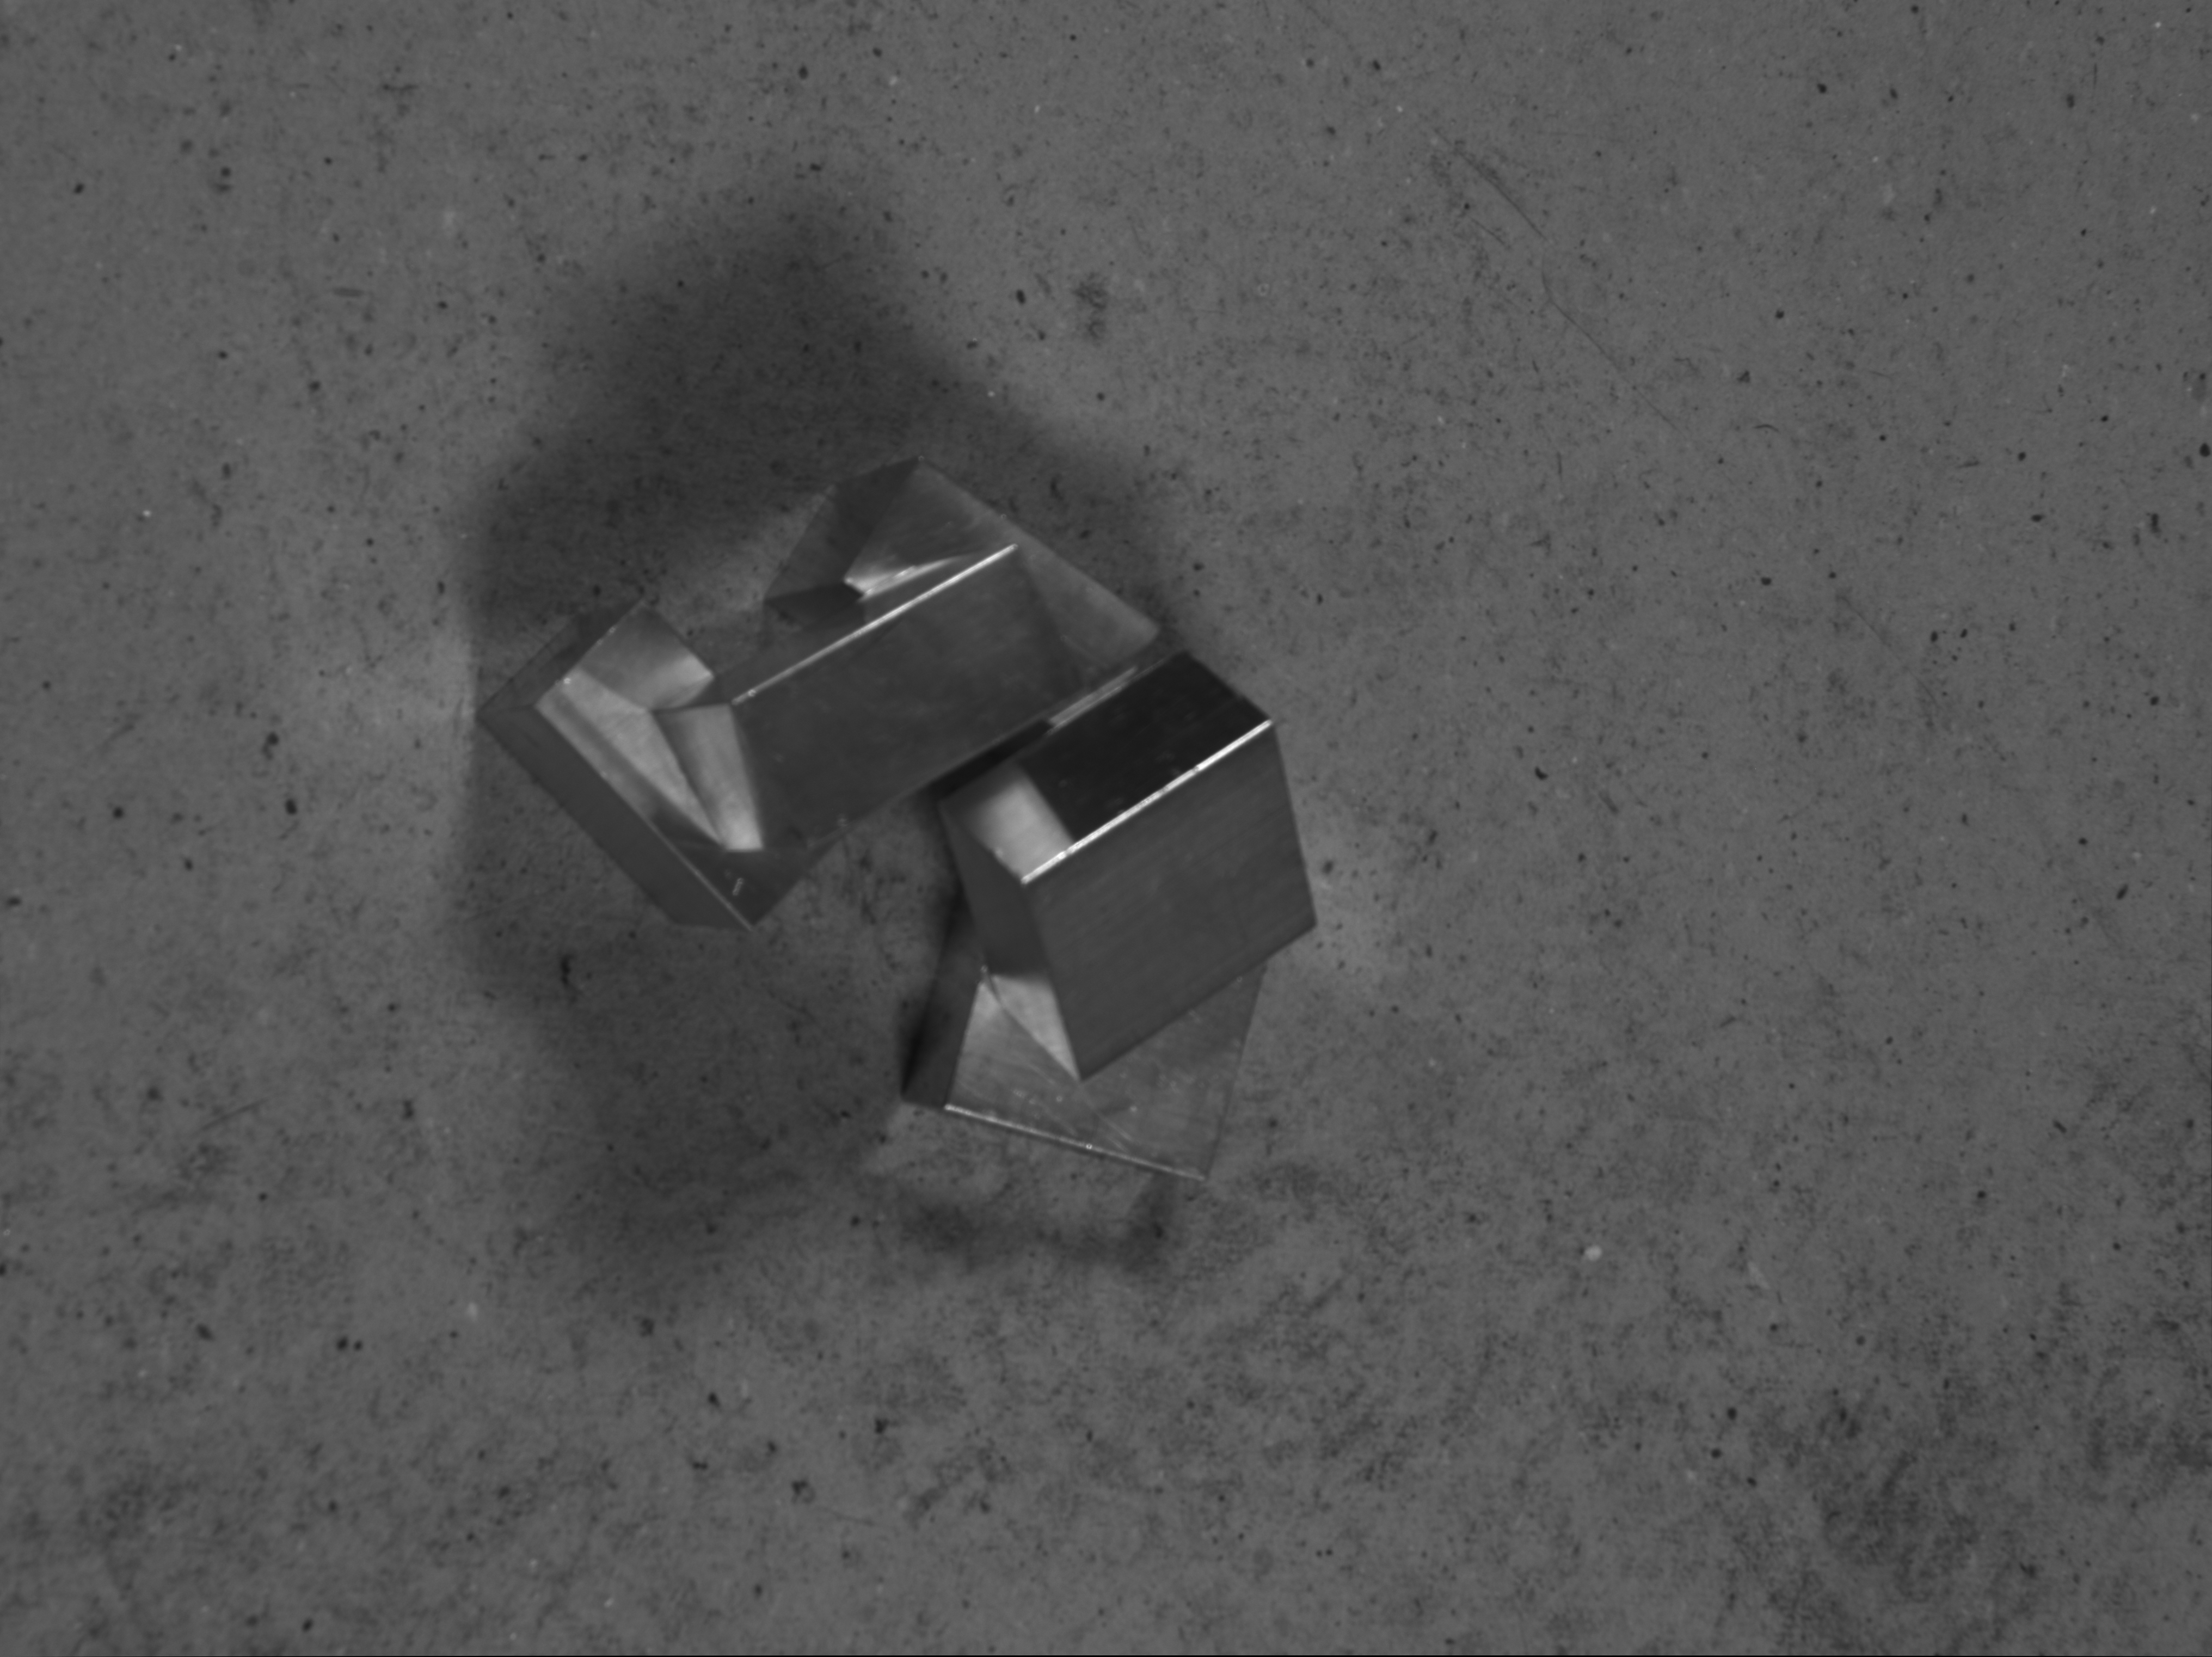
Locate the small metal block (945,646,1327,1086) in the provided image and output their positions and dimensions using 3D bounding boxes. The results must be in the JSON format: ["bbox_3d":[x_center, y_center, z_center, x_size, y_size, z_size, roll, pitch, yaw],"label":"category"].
[{"bbox_3d":[0.006,0.006,0.606,0.050,0.025,0.050,-33,138,-17],"label":"small metal block"}]

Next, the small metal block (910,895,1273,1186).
[{"bbox_3d":[-0.001,0.031,0.643,0.050,0.025,0.050,17,84,-19],"label":"small metal block"}]

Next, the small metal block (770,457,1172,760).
[{"bbox_3d":[-0.024,-0.036,0.622,0.050,0.050,0.025,34,79,-17],"label":"small metal block"}]

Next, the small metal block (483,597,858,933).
[{"bbox_3d":[-0.072,-0.010,0.604,0.025,0.050,0.050,-46,104,-14],"label":"small metal block"}]

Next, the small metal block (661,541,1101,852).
[{"bbox_3d":[-0.036,-0.020,0.564,0.050,0.050,0.025,-31,100,-17],"label":"small metal block"}]
